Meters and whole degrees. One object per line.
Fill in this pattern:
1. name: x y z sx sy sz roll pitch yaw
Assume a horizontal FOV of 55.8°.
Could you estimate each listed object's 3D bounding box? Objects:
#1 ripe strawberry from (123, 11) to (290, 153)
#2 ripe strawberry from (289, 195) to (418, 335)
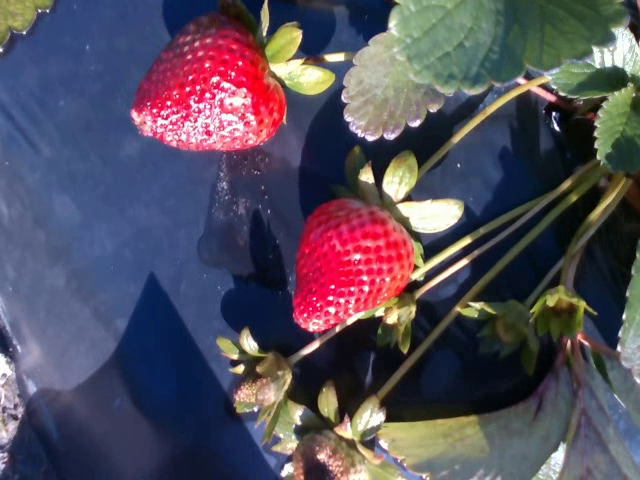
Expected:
1. ripe strawberry: -0.039 -0.047 0.189 0.050 0.051 0.044 -25 6 -22
2. ripe strawberry: 0.006 0.010 0.180 0.042 0.049 0.039 20 -32 37
